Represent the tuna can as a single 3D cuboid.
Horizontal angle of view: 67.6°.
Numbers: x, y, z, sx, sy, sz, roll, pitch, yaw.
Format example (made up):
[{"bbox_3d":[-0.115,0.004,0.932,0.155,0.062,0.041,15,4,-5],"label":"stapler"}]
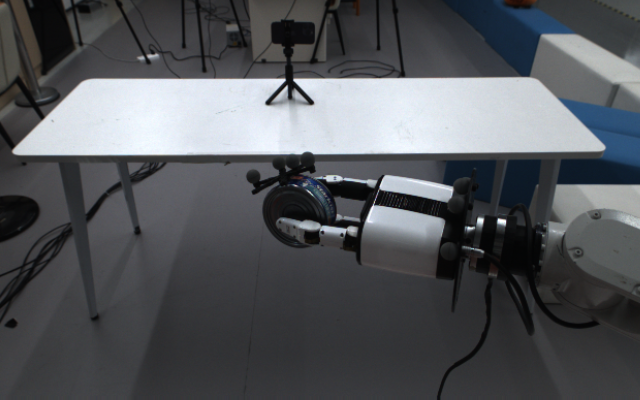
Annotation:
[{"bbox_3d":[-0.021,0.020,0.582,0.085,0.085,0.034,15,30,17],"label":"tuna can"}]
